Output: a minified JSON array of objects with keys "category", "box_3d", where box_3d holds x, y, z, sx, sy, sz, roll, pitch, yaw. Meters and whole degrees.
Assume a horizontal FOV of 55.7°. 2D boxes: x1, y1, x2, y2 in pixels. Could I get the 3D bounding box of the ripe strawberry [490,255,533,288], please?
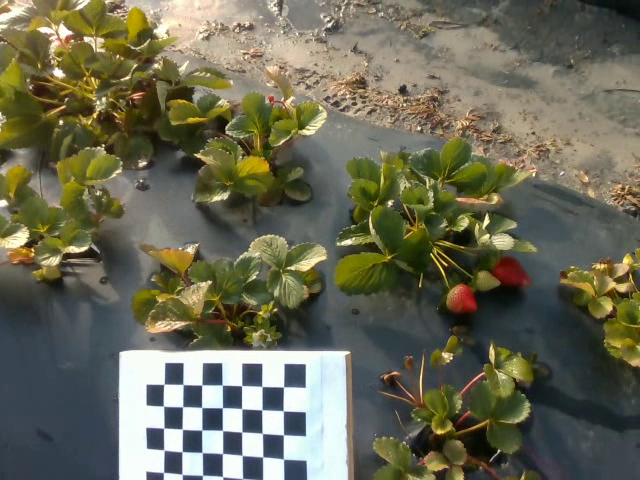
[{"category":"ripe strawberry","box_3d":[0.283,0.050,0.886,0.064,0.049,0.050,40,10,22]}]
